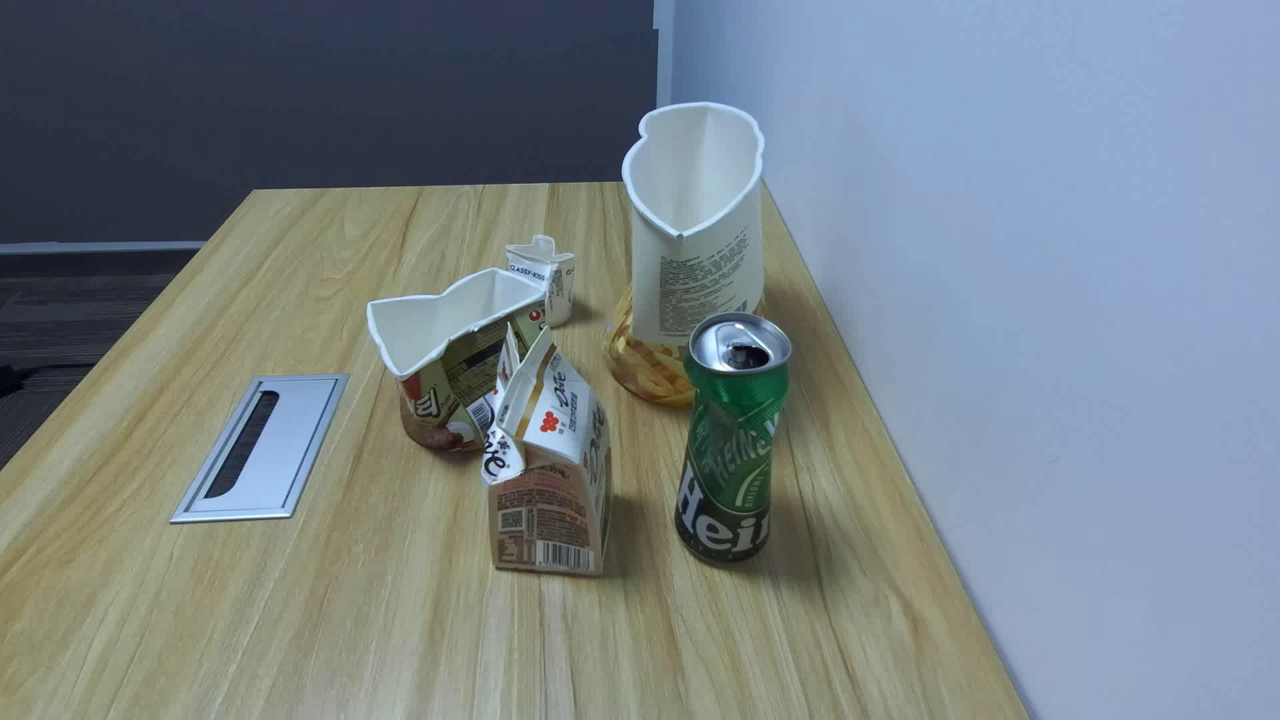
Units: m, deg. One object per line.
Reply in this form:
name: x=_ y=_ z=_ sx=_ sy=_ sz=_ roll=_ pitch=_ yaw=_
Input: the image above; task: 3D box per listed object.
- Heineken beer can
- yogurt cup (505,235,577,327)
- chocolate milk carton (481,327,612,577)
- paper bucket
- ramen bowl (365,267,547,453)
Heineken beer can: x=0.056 y=0.052 z=0.435 sx=0.066 sy=0.164 sz=0.078 roll=14 pitch=42 yaw=20
yogurt cup: x=-0.092 y=-0.074 z=0.672 sx=0.055 sy=0.072 sz=0.054 roll=-21 pitch=41 yaw=-33
chocolate milk carton: x=-0.059 y=0.054 z=0.438 sx=0.073 sy=0.156 sz=0.076 roll=1 pitch=38 yaw=5
paper bucket: x=0.040 y=-0.080 z=0.572 sx=0.148 sy=0.199 sz=0.217 roll=-14 pitch=40 yaw=-18
ramen bowl: x=-0.132 y=-0.001 z=0.556 sx=0.128 sy=0.093 sz=0.111 roll=-21 pitch=42 yaw=-22
